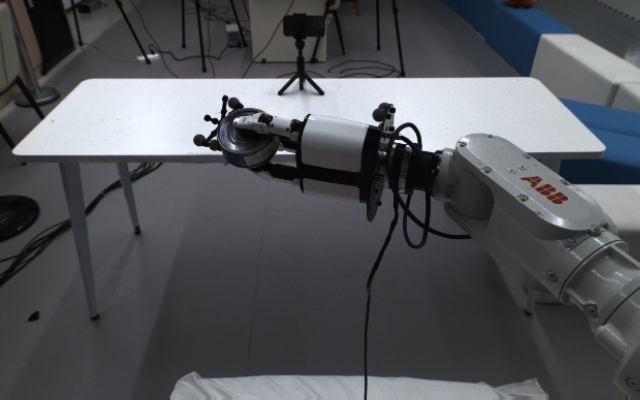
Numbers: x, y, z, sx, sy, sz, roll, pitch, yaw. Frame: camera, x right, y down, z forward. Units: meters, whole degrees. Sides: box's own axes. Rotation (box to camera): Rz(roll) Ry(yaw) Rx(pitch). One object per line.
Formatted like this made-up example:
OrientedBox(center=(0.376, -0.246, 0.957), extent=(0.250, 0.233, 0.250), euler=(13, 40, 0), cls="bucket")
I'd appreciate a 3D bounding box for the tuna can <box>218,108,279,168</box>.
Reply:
OrientedBox(center=(-0.100, -0.085, 0.690), extent=(0.085, 0.034, 0.085), euler=(-1, 63, 1), cls="tuna can")
